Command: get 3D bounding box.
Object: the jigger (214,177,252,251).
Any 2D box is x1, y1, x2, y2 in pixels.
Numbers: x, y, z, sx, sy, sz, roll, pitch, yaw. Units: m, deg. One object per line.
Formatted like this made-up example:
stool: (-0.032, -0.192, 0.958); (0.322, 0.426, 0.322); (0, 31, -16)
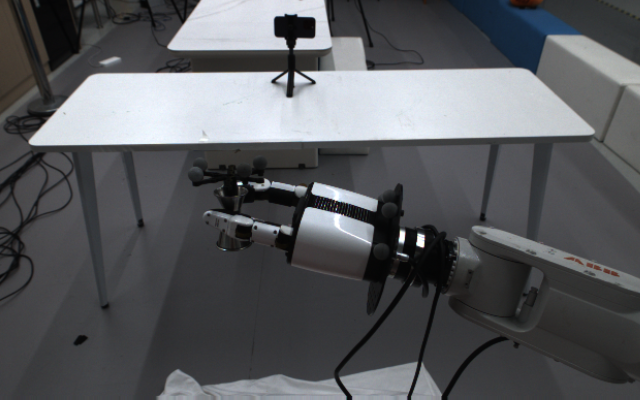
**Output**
jigger: (-0.104, 0.022, 0.576); (0.043, 0.071, 0.043); (0, 21, 0)
